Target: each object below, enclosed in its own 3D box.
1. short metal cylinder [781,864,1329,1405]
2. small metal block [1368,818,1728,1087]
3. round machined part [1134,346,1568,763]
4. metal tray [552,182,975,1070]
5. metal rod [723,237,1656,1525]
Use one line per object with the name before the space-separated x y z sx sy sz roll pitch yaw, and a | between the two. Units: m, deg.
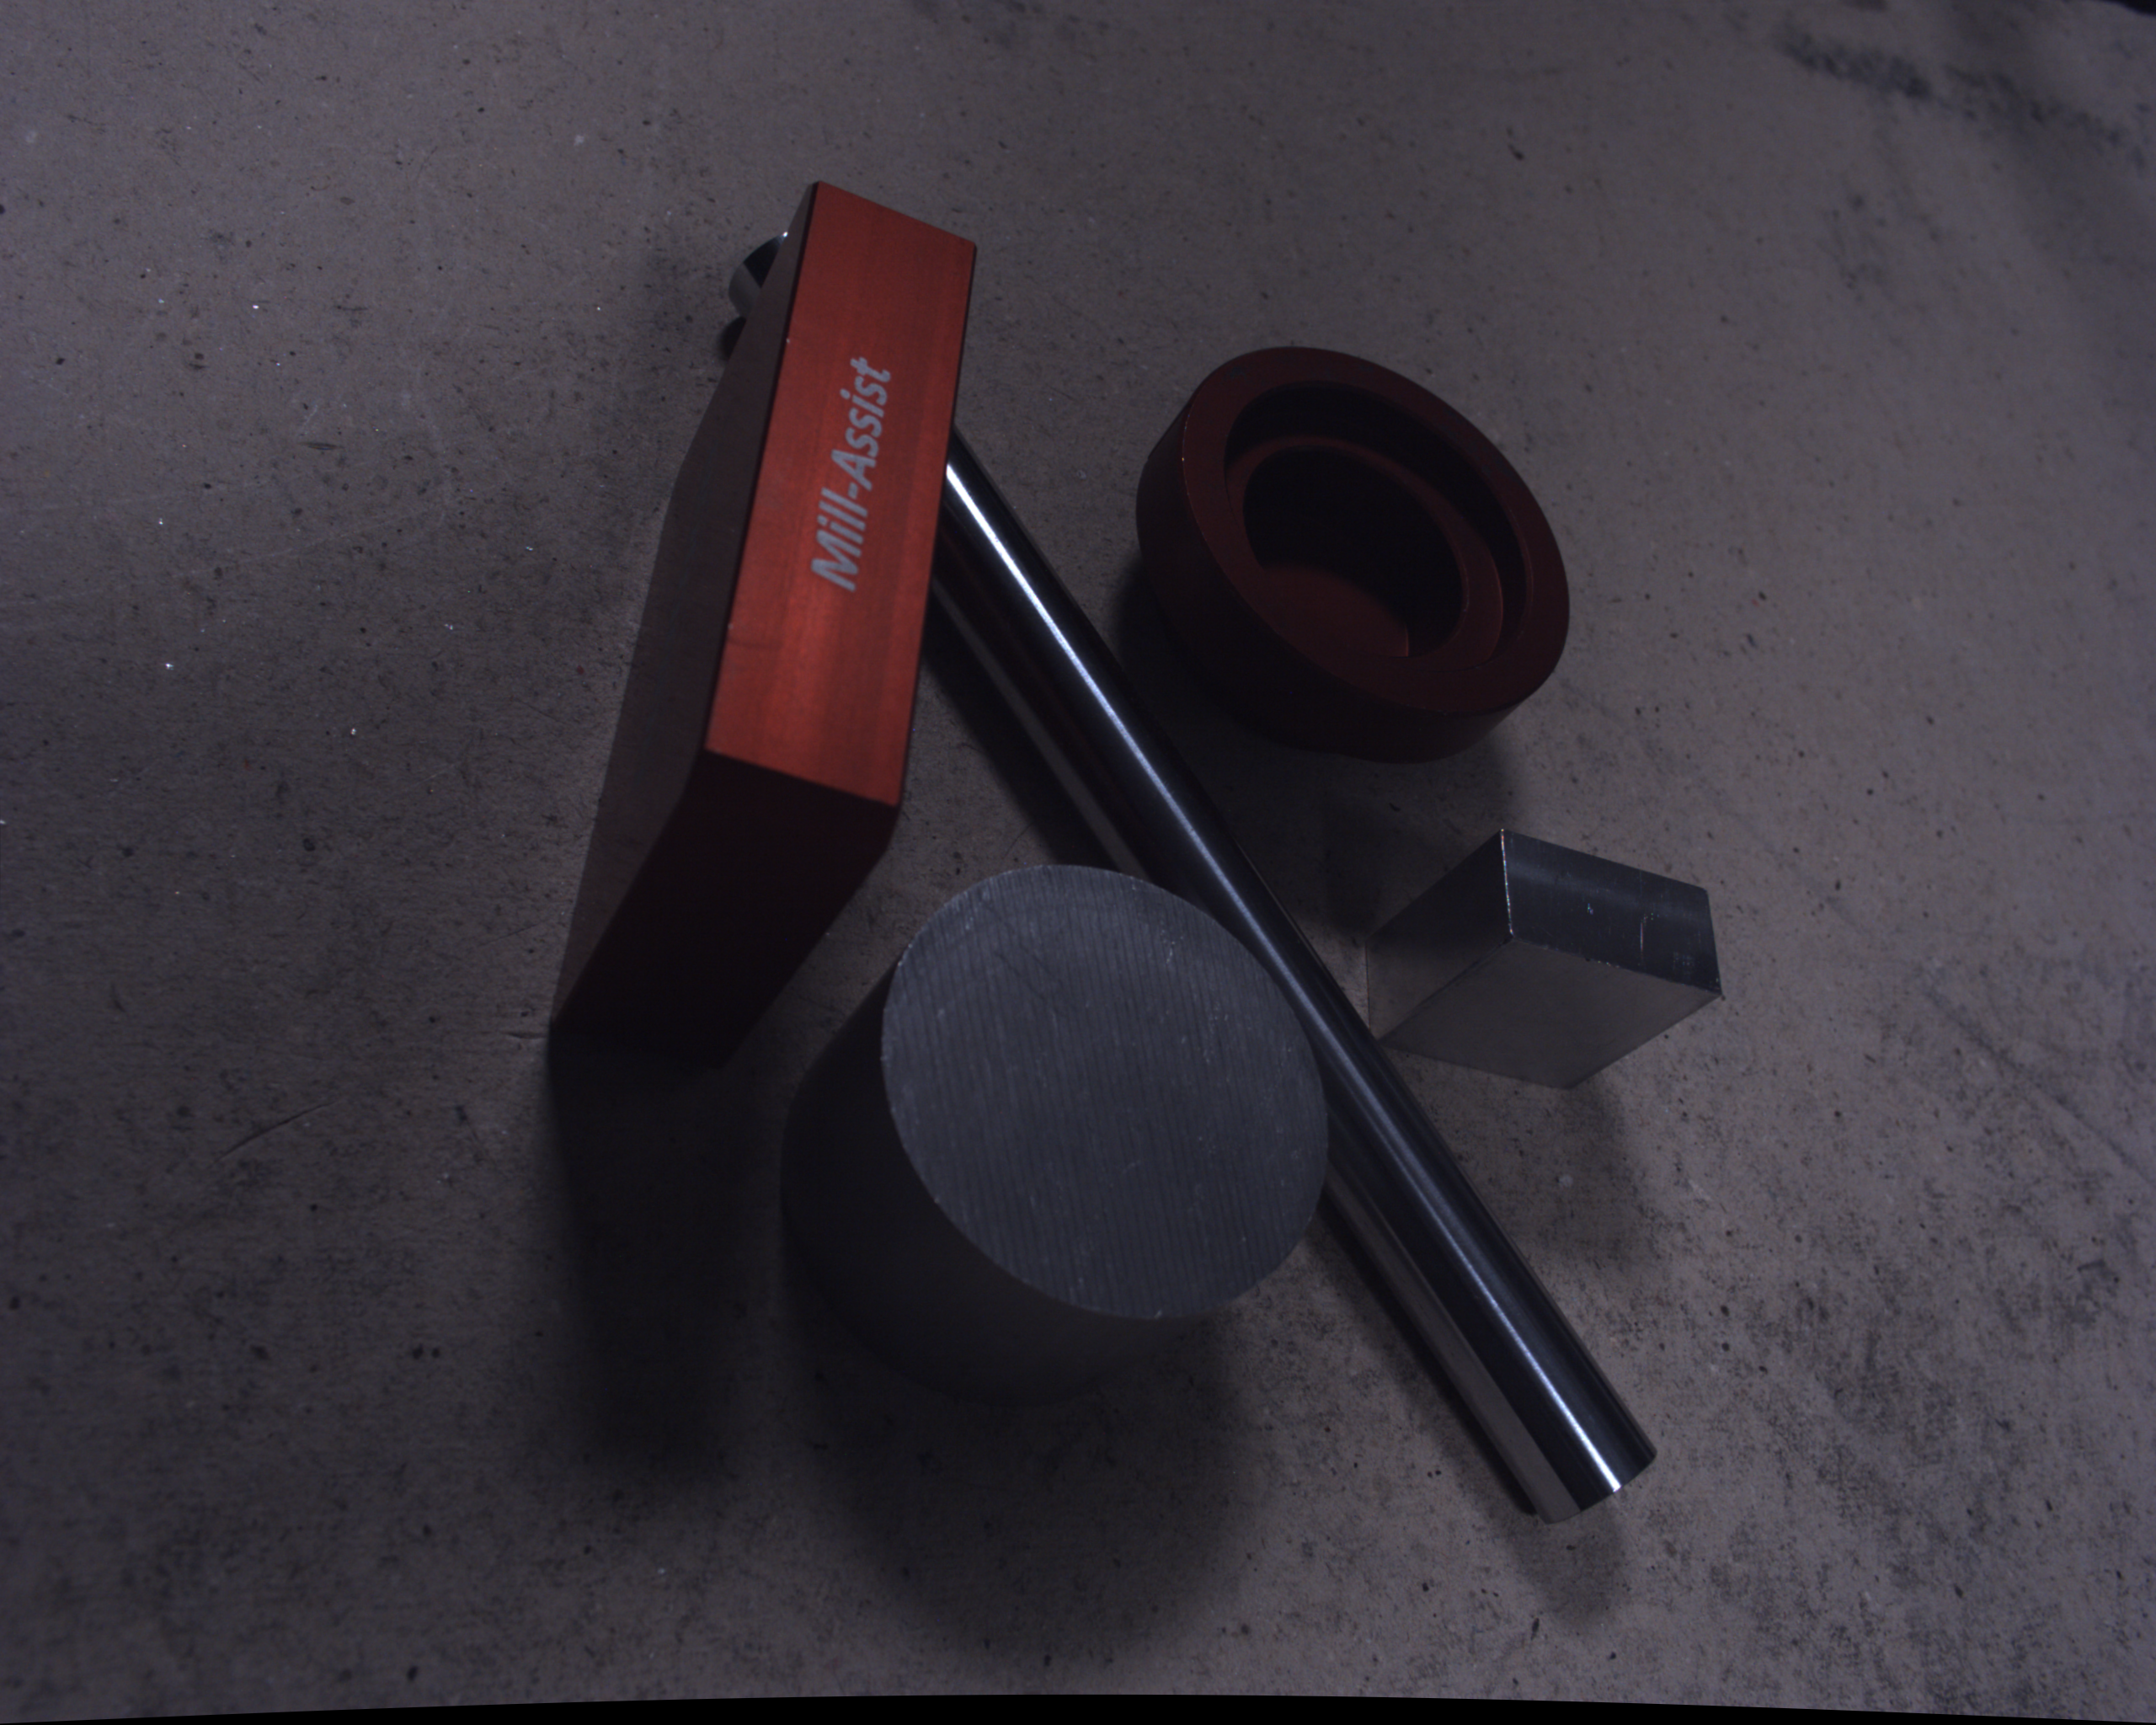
short metal cylinder | -0.005 0.047 0.359 0.081 0.050 0.080 14 56 -21
small metal block | 0.095 0.020 0.427 0.050 0.050 0.025 15 56 -20
round machined part | 0.056 -0.064 0.465 0.099 0.042 0.098 14 56 -21
metal tray | -0.054 -0.041 0.360 0.030 0.090 0.130 17 55 -19
metal rod | 0.016 -0.005 0.420 0.025 0.025 0.299 -25 75 -37
